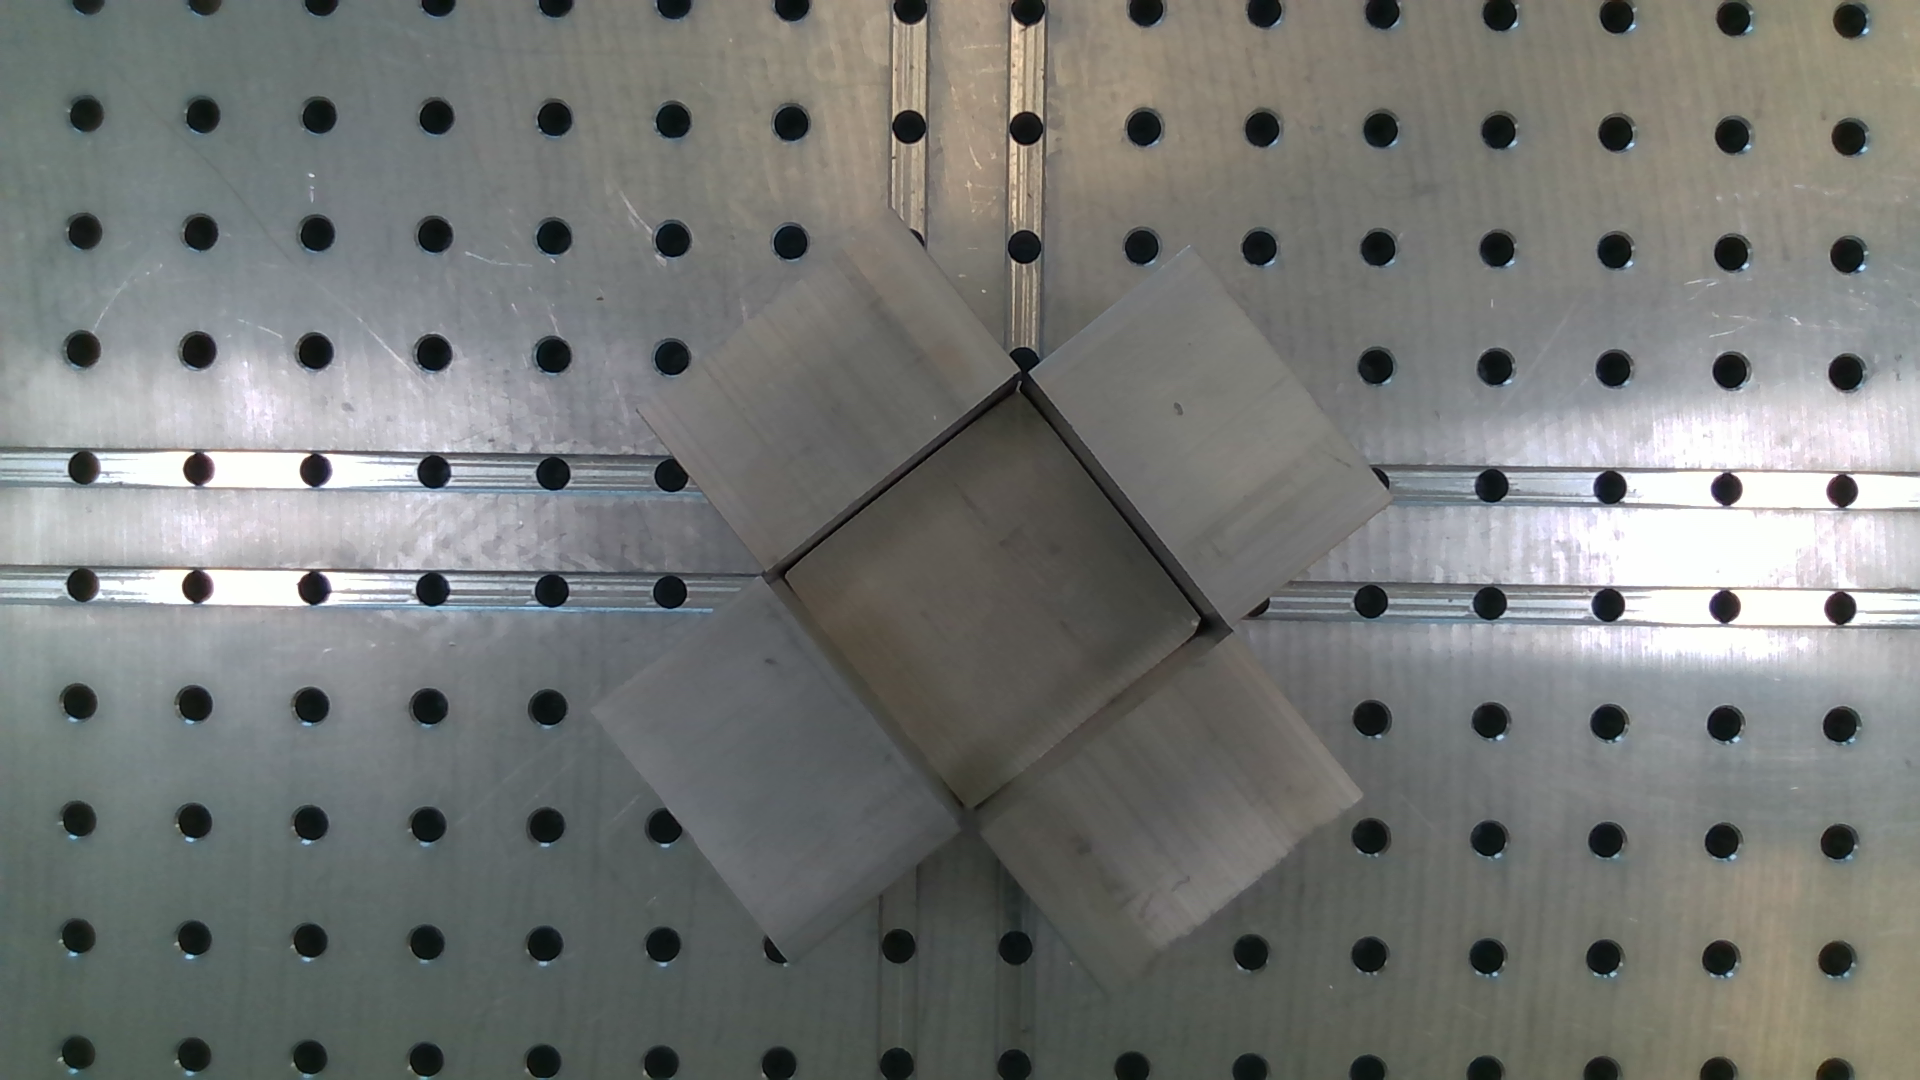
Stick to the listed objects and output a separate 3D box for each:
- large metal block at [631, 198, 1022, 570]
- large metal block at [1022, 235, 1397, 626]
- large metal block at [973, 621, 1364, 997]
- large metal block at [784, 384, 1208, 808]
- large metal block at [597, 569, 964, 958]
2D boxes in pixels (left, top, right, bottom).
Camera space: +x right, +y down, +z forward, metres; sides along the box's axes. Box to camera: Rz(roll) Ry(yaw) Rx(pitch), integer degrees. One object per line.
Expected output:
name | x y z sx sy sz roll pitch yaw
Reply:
large metal block | -0.032 -0.037 0.370 0.080 0.080 0.050 -39 90 0
large metal block | 0.060 -0.026 0.370 0.050 0.080 0.080 -39 90 0
large metal block | 0.050 0.065 0.371 0.080 0.080 0.050 -39 90 0
large metal block | 0.009 0.015 0.384 0.080 0.050 0.080 -38 88 -1
large metal block | -0.043 0.054 0.371 0.050 0.080 0.080 -37 90 0
